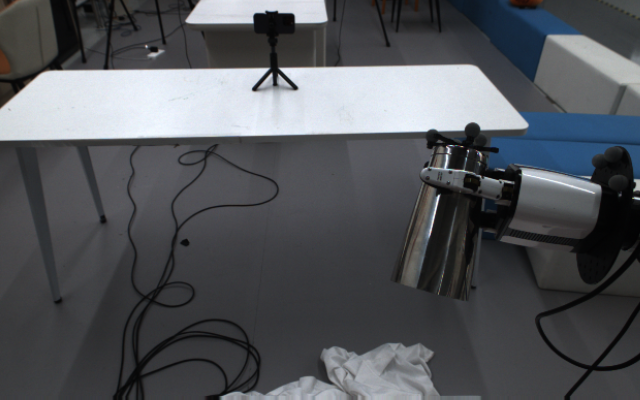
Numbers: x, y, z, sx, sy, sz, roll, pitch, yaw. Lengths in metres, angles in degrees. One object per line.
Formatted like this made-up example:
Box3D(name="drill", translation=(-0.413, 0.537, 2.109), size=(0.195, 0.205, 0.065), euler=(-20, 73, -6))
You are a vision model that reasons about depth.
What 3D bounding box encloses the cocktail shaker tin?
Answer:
Box3D(name="cocktail shaker tin", translation=(0.152, 0.023, 0.583), size=(0.093, 0.170, 0.093), euler=(14, -5, 1))
